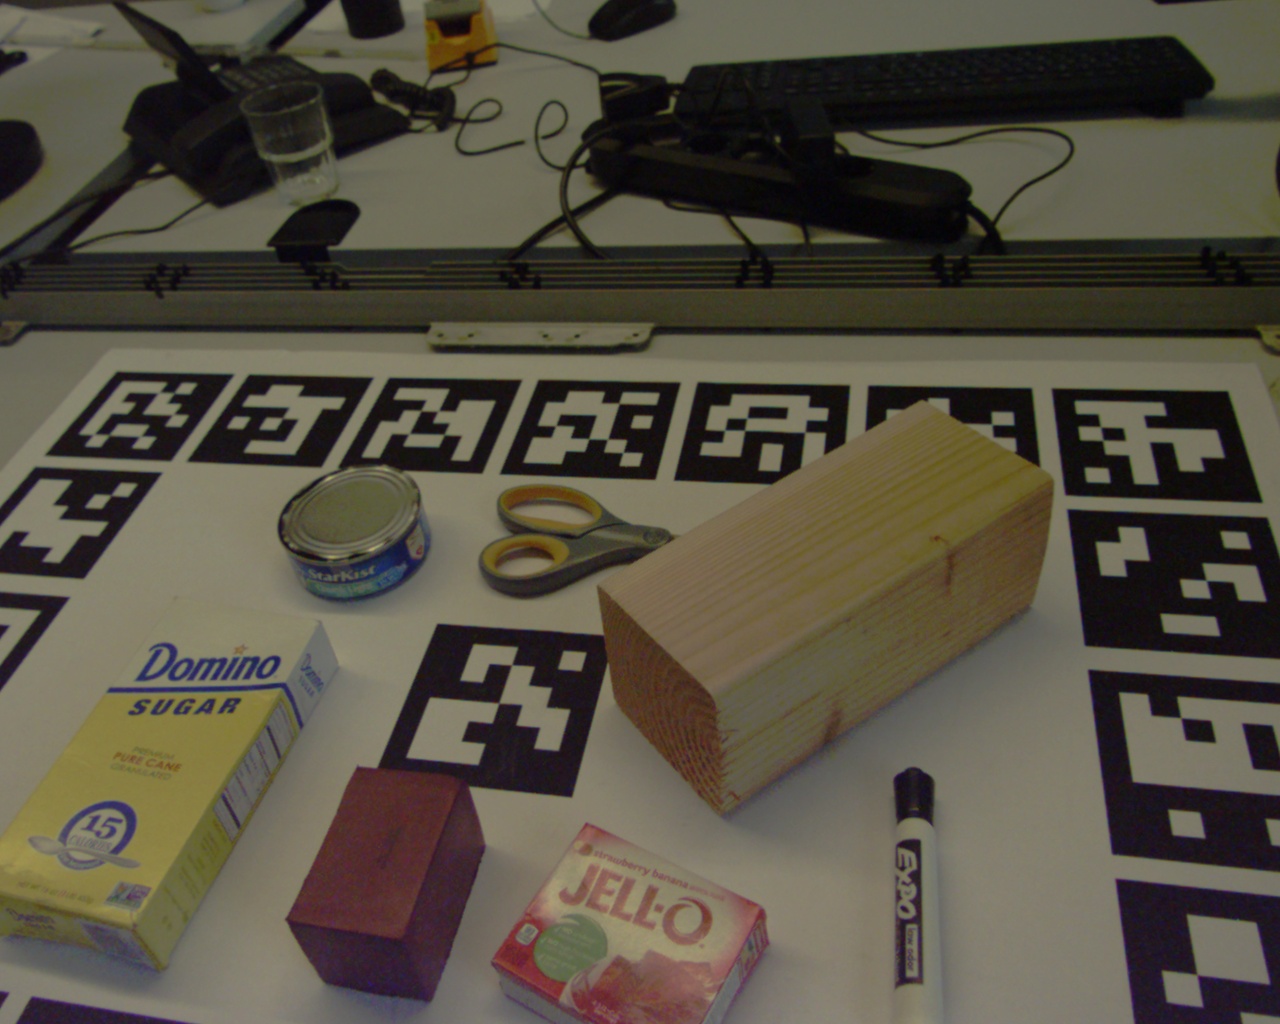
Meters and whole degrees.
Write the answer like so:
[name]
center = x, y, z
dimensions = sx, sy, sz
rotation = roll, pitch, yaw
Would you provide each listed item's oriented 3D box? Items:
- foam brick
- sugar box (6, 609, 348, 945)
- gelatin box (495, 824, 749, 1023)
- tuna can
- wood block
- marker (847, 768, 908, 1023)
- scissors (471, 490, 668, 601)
[foam brick]
center = -0.108, 0.168, 0.527
dimensions = 0.053, 0.051, 0.078
rotation = 3, 45, 15
[sugar box]
center = -0.236, 0.132, 0.602
dimensions = 0.093, 0.045, 0.176
rotation = 6, 45, 16
[gelatin box]
center = -0.007, 0.189, 0.505
dimensions = 0.090, 0.030, 0.073
rotation = 17, 50, 27
[tuna can]
center = -0.179, 0.017, 0.715
dimensions = 0.086, 0.033, 0.086
rotation = -6, 44, 5
[wood block]
center = 0.092, 0.052, 0.592
dimensions = 0.205, 0.090, 0.091
rotation = -29, 45, -20
[marker]
center = 0.107, 0.169, 0.509
dimensions = 0.020, 0.019, 0.121
rotation = 3, 47, 14
[scissors]
center = -0.006, 0.027, 0.687
dimensions = 0.205, 0.016, 0.087
rotation = 7, 46, 21
